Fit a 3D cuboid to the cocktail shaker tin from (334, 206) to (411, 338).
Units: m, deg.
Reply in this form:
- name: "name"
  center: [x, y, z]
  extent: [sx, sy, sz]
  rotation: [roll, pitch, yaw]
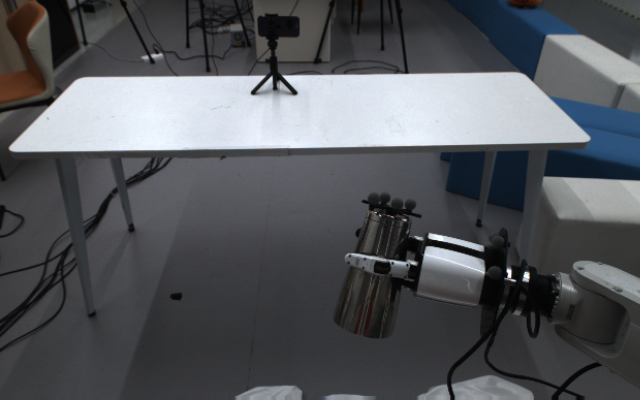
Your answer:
- name: "cocktail shaker tin"
  center: [0.084, 0.102, 0.709]
  extent: [0.093, 0.170, 0.093]
  rotation: [13, 7, -1]
